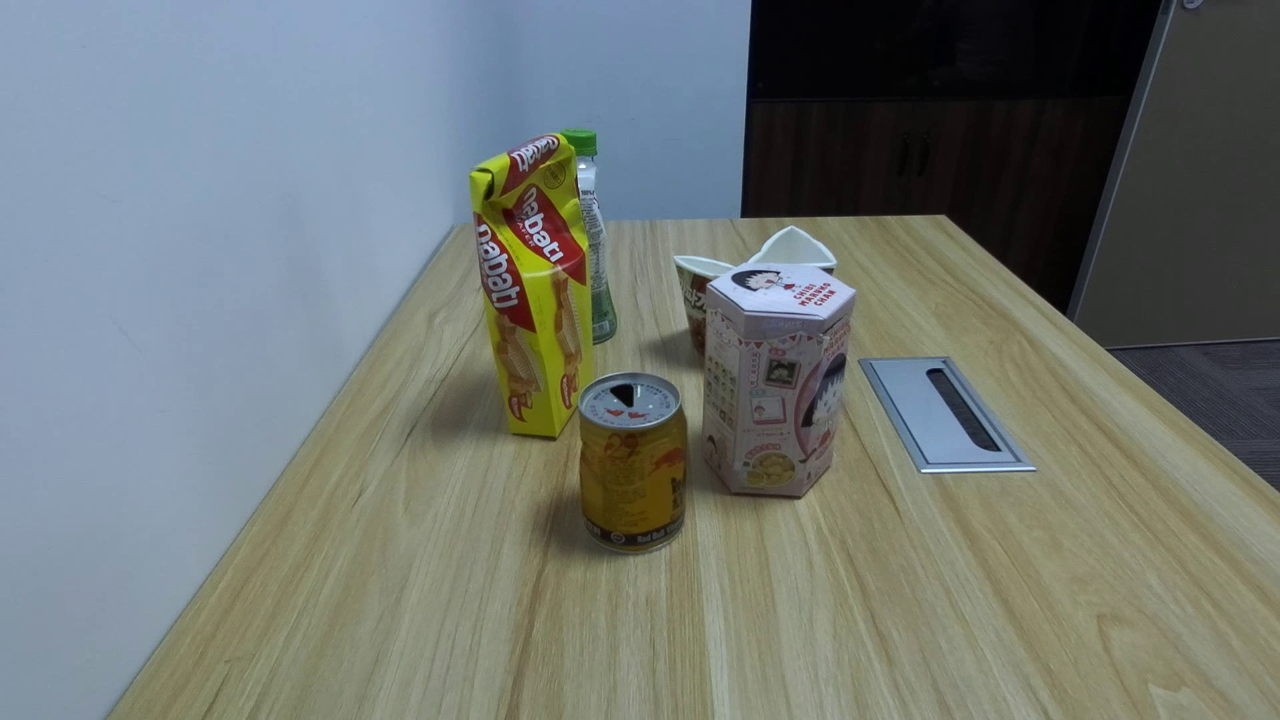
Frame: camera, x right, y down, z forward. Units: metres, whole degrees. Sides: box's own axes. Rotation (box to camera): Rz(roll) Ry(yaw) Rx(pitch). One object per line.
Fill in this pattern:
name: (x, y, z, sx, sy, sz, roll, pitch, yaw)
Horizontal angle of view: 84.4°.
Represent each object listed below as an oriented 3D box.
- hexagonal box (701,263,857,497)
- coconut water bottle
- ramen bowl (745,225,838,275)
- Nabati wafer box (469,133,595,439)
hexagonal box: (0.088, 0.014, 0.461, 0.083, 0.136, 0.091, 18, 35, 31)
coconut water bottle: (-0.053, -0.111, 0.634, 0.069, 0.187, 0.069, -1, 26, 1)
ramen bowl: (0.096, -0.059, 0.631, 0.128, 0.093, 0.111, -7, 30, -10)
Nabati wafer box: (-0.072, -0.050, 0.515, 0.042, 0.205, 0.113, 7, 32, 16)
